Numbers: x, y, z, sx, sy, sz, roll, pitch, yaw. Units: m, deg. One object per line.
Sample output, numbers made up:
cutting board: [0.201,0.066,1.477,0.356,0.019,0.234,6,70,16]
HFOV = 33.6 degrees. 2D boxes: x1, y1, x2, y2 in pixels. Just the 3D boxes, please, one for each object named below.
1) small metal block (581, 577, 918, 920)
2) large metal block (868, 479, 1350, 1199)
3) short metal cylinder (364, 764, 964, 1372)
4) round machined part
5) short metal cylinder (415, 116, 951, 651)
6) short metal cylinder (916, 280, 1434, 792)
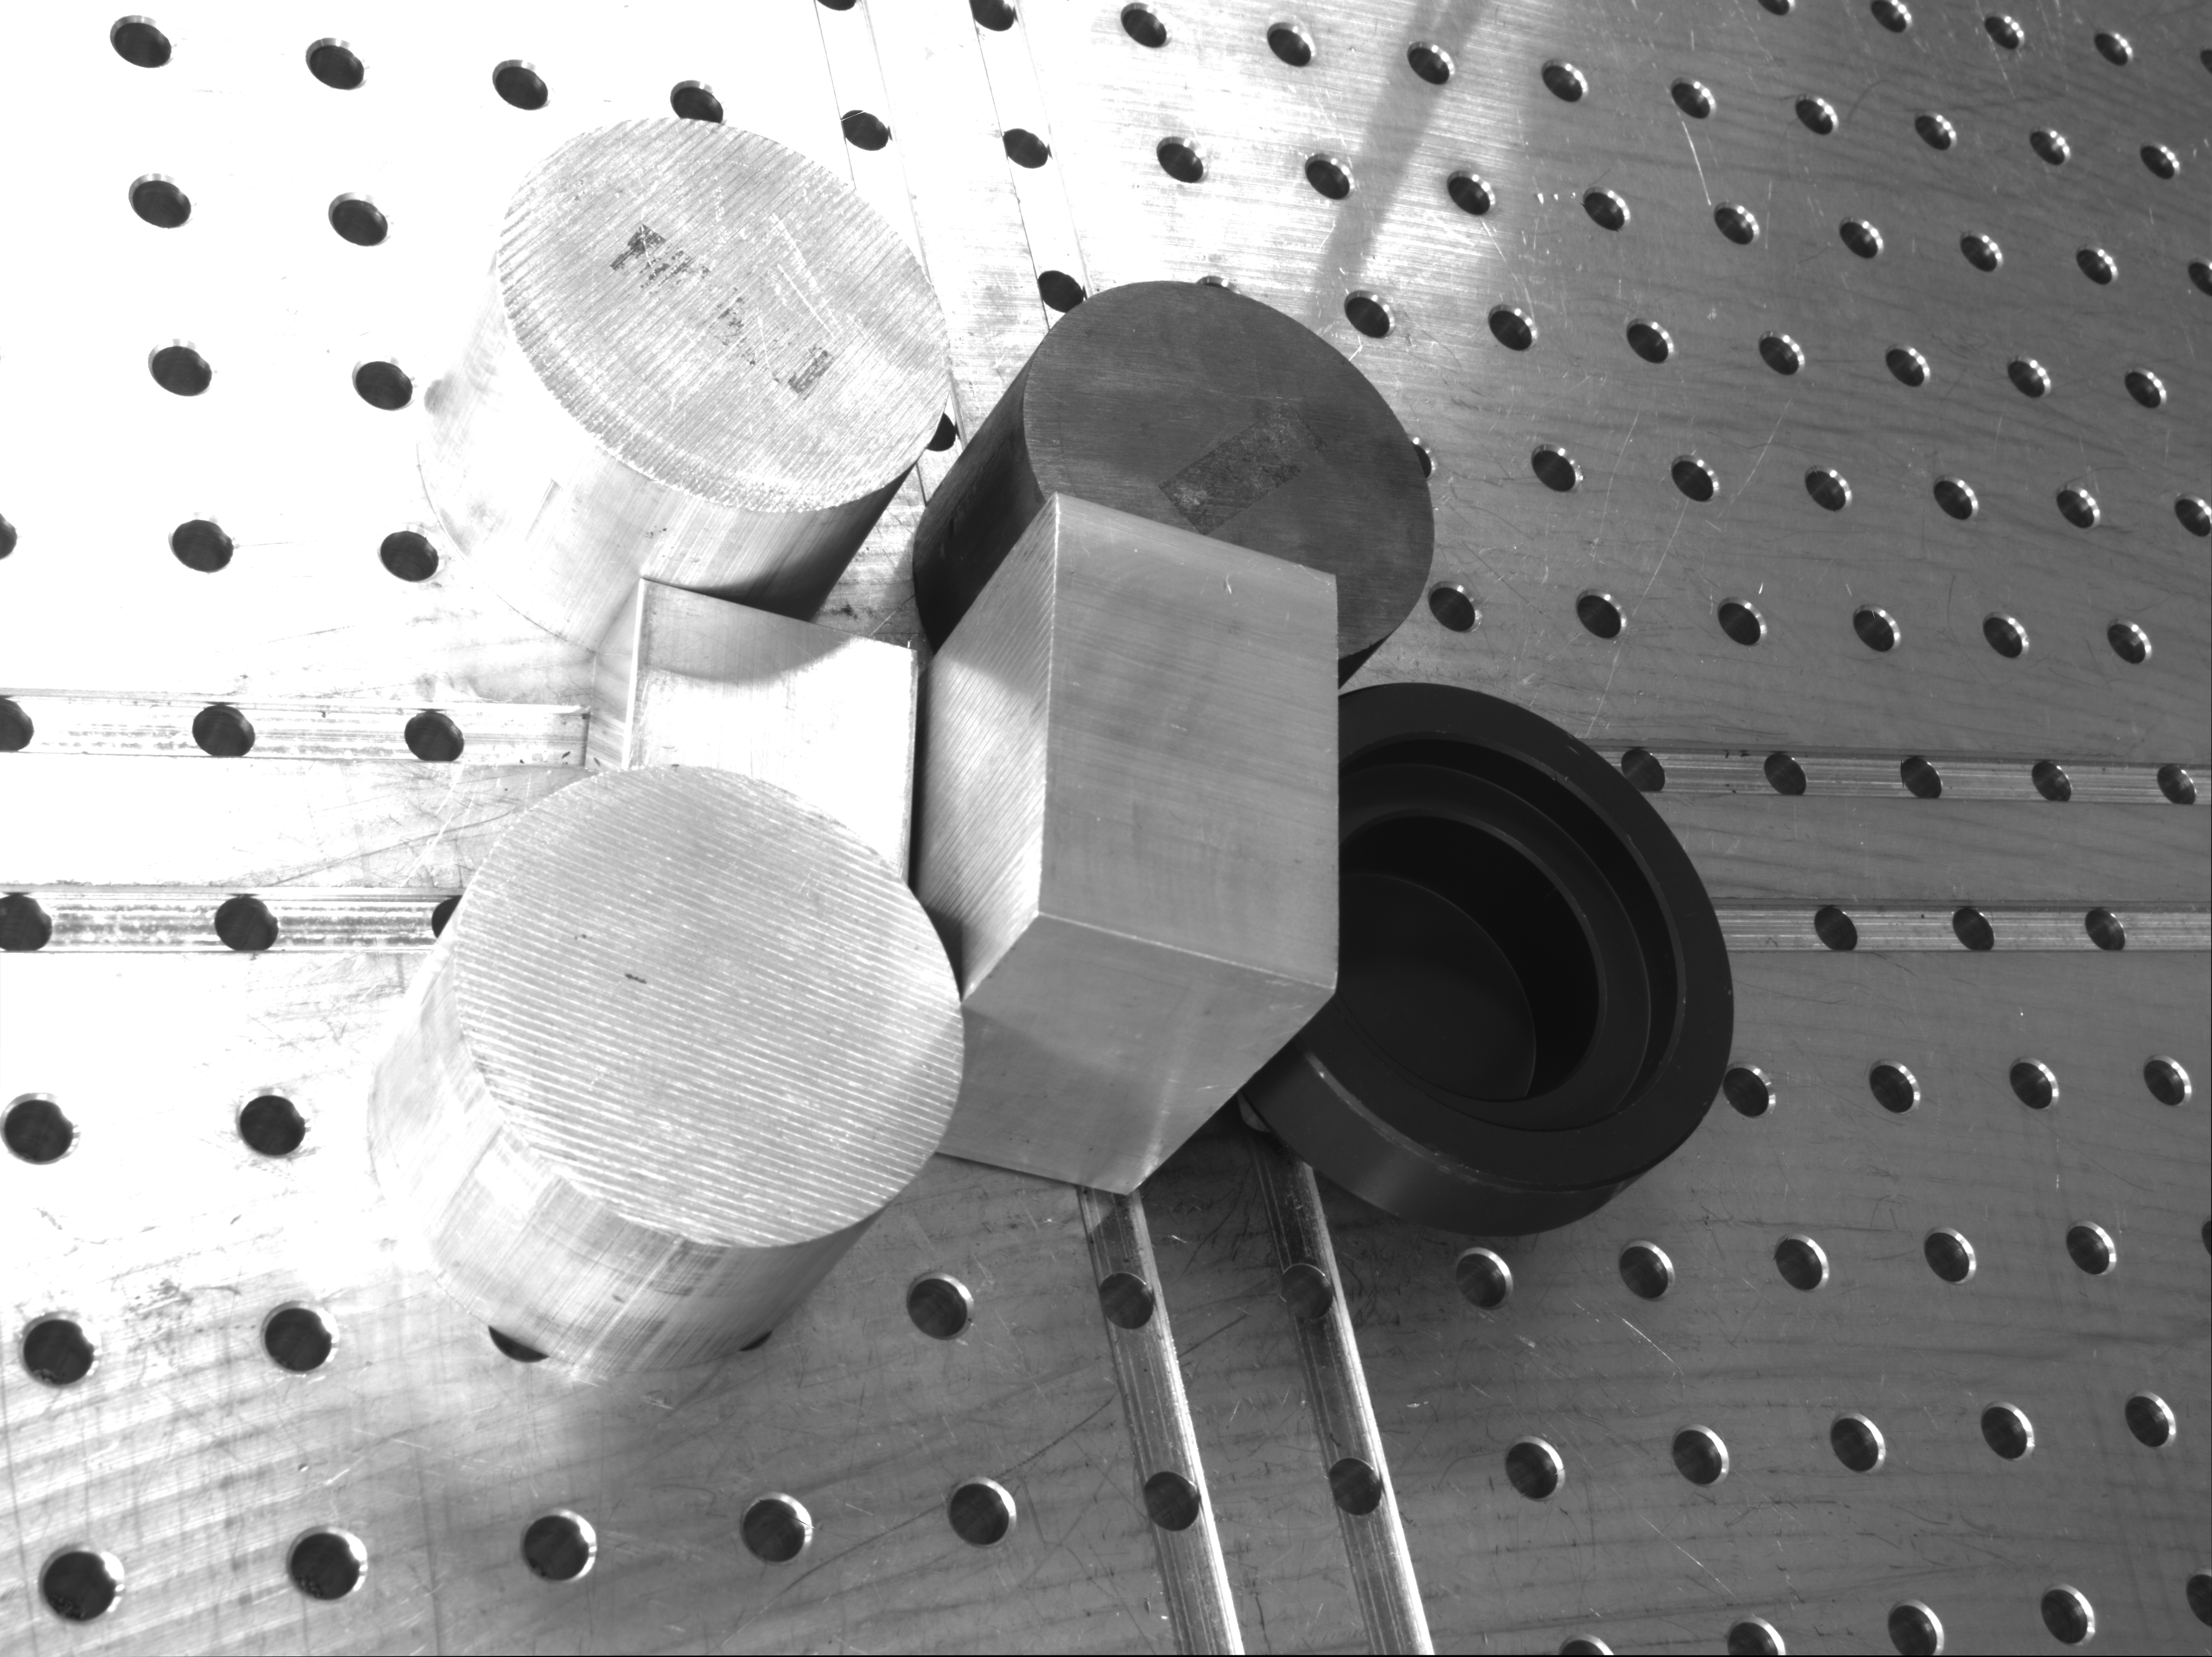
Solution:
small metal block: [-0.060,-0.009,0.614,0.050,0.025,0.050,14,56,-20]
large metal block: [-0.001,0.004,0.600,0.050,0.080,0.080,15,56,-20]
short metal cylinder: [-0.069,0.037,0.566,0.080,0.050,0.080,14,56,-21]
round machined part: [0.057,0.027,0.645,0.098,0.042,0.098,14,56,-21]
short metal cylinder: [-0.073,-0.075,0.632,0.080,0.050,0.080,14,56,-21]
short metal cylinder: [0.012,-0.052,0.663,0.080,0.050,0.080,14,56,-21]
